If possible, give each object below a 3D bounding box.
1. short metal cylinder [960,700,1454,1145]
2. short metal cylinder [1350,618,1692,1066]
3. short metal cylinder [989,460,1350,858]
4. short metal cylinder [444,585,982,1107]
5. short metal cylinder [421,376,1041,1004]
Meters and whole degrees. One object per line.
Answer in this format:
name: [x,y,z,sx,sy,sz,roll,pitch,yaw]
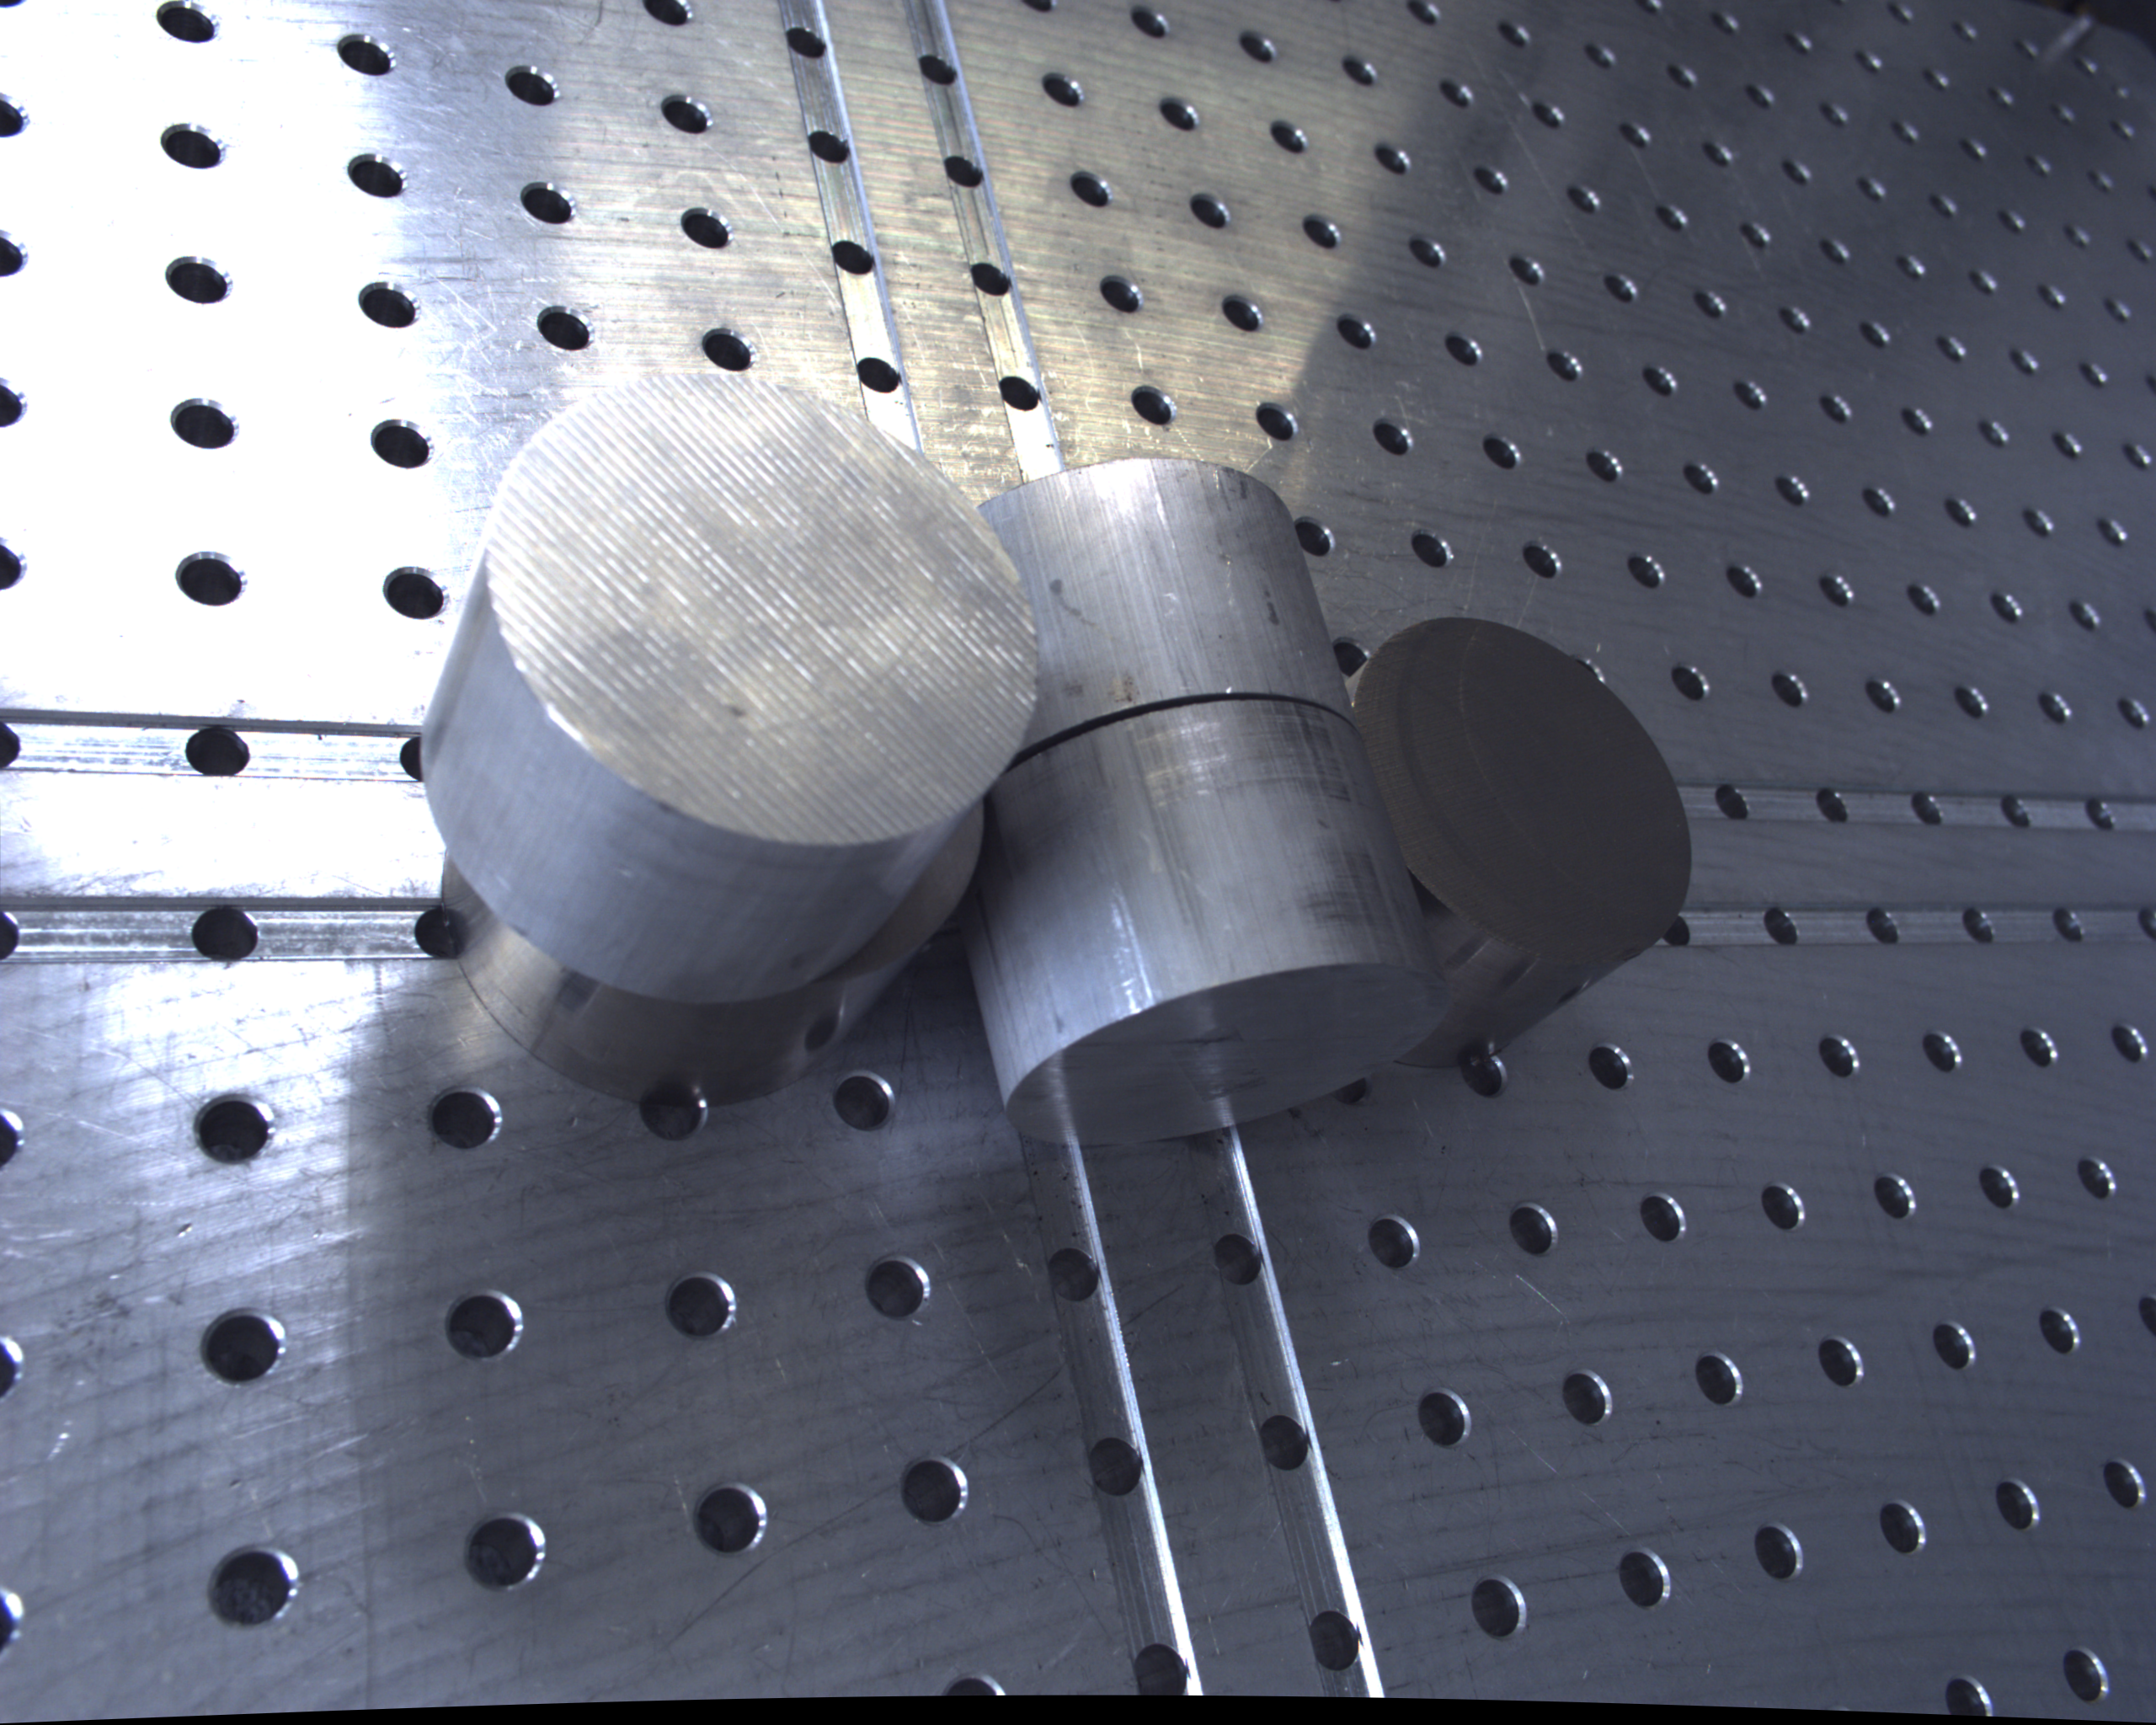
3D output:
short metal cylinder: [0.021,0.013,0.376,0.081,0.080,0.050,-1,63,-29]
short metal cylinder: [0.079,-0.004,0.436,0.081,0.050,0.080,14,56,-21]
short metal cylinder: [0.009,-0.032,0.397,0.081,0.080,0.050,1,62,-28]
short metal cylinder: [-0.063,-0.004,0.360,0.081,0.050,0.080,14,56,-21]
short metal cylinder: [-0.053,-0.025,0.313,0.081,0.050,0.080,14,56,-21]
